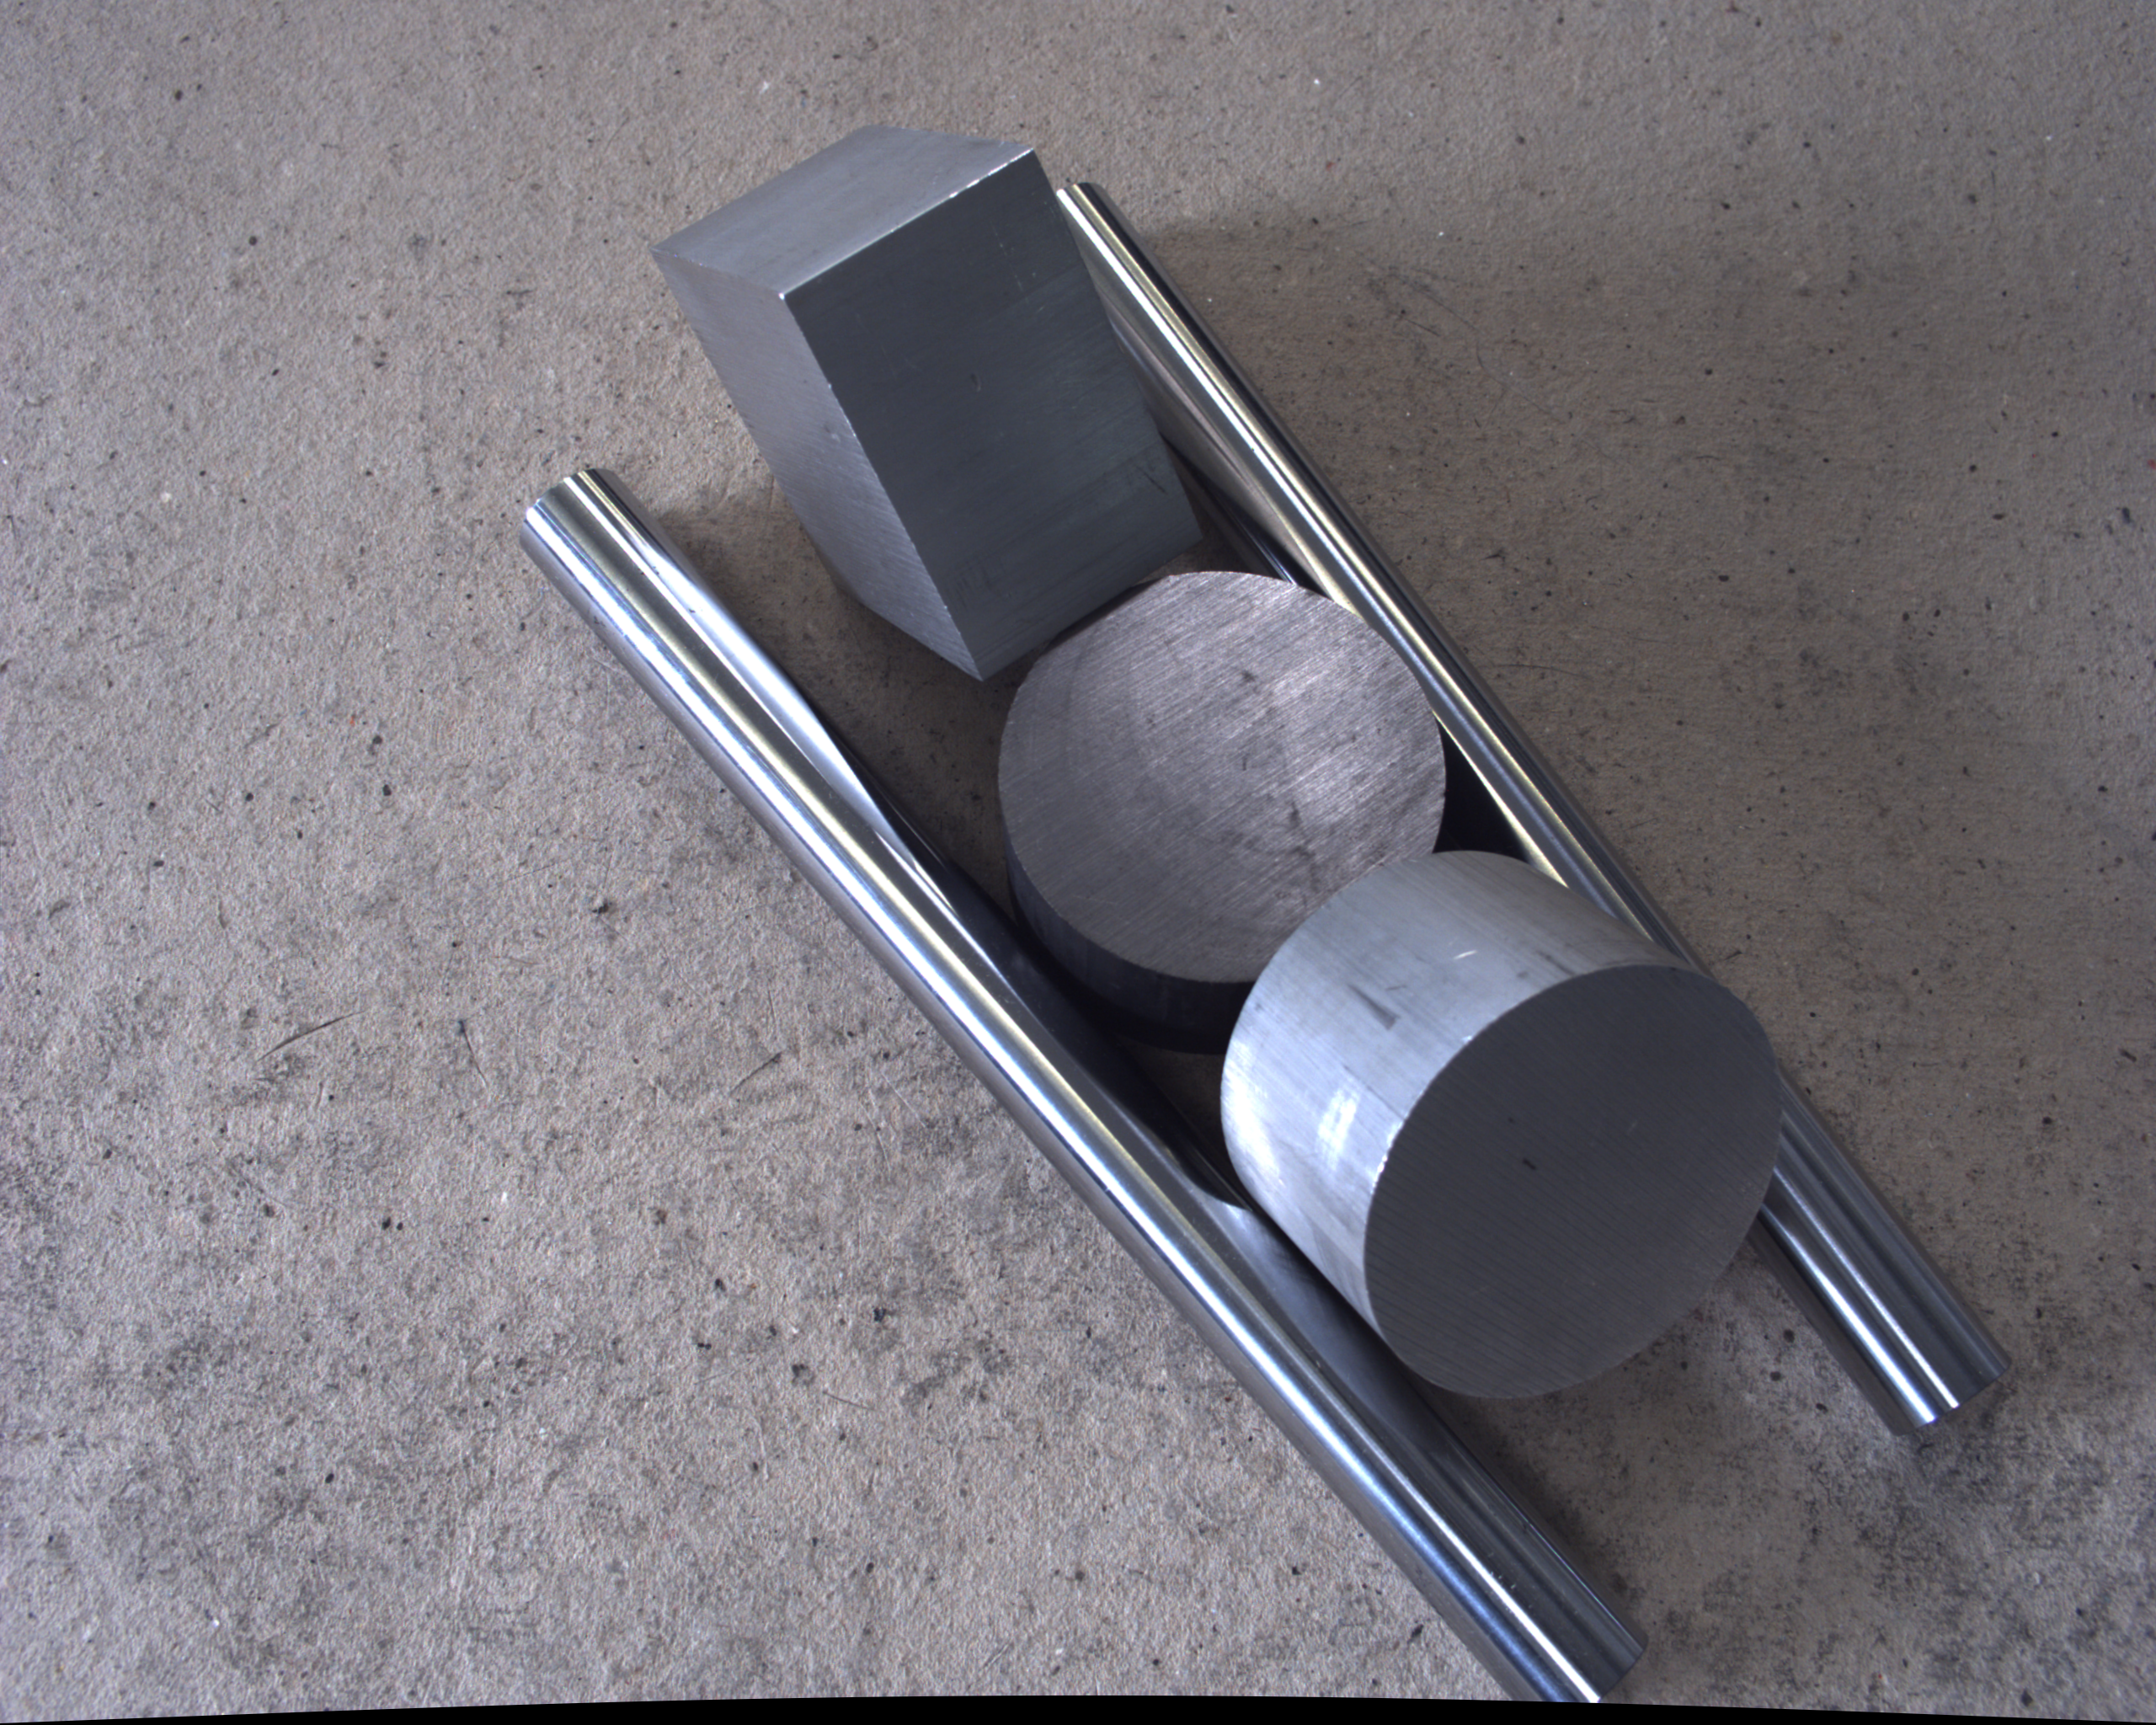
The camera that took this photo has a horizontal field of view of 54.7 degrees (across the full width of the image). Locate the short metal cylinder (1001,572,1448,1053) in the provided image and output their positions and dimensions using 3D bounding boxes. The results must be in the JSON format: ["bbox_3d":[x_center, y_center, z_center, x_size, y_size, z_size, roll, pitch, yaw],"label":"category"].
[{"bbox_3d":[0.026,-0.008,0.399,0.081,0.050,0.080,0,70,0],"label":"short metal cylinder"}]

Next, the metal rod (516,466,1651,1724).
[{"bbox_3d":[-0.009,0.034,0.396,0.025,0.025,0.300,-39,75,-13],"label":"metal rod"}]

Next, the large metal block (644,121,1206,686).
[{"bbox_3d":[-0.030,-0.090,0.396,0.050,0.080,0.080,-35,32,-12],"label":"large metal block"}]

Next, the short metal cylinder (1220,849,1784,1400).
[{"bbox_3d":[0.072,0.044,0.358,0.080,0.080,0.050,-30,31,-10],"label":"short metal cylinder"}]

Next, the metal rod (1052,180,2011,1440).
[{"bbox_3d":[0.076,-0.022,0.417,0.025,0.025,0.299,-31,73,-11],"label":"metal rod"}]
